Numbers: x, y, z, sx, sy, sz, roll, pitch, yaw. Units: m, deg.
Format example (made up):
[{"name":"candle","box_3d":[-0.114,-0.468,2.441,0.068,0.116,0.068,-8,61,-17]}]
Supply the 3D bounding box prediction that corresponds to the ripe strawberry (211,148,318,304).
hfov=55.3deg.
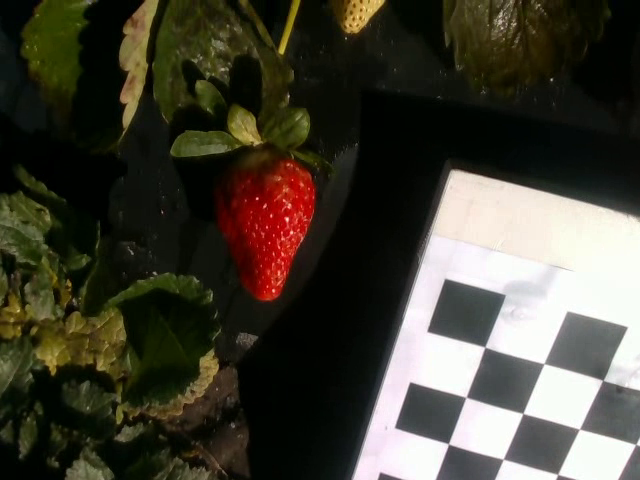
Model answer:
[{"name":"ripe strawberry","box_3d":[-0.022,-0.005,0.240,0.048,0.069,0.040,-2,13,10]}]
